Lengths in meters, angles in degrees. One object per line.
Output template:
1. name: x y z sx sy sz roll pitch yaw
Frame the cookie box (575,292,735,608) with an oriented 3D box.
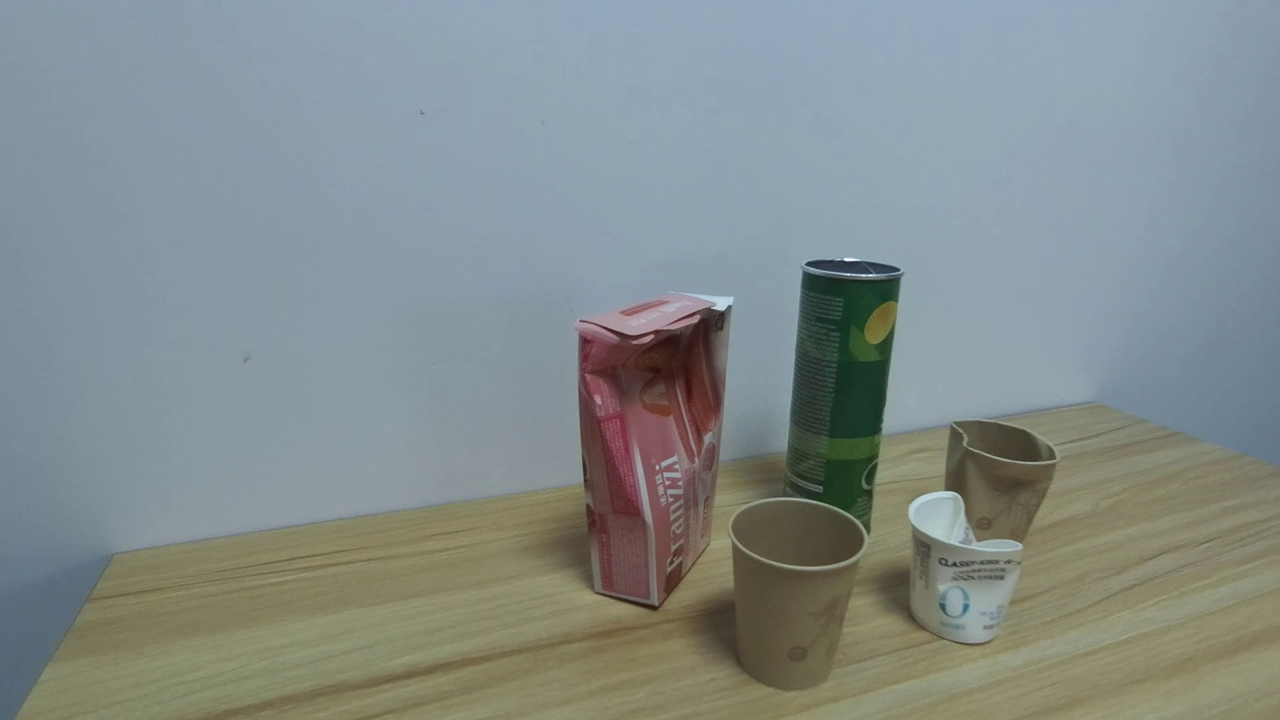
1. cookie box: 0.012 0.057 0.456 0.055 0.184 0.119 12 21 31

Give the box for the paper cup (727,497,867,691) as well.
1. paper cup: 0.084 0.130 0.390 0.075 0.082 0.075 1 17 0

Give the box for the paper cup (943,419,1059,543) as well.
1. paper cup: 0.259 0.094 0.518 0.066 0.084 0.072 4 17 12

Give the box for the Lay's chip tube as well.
1. Lay's chip tube: 0.144 0.030 0.516 0.071 0.202 0.071 1 17 0

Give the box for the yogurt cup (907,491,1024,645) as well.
1. yogurt cup: 0.192 0.127 0.428 0.067 0.070 0.067 1 20 0
